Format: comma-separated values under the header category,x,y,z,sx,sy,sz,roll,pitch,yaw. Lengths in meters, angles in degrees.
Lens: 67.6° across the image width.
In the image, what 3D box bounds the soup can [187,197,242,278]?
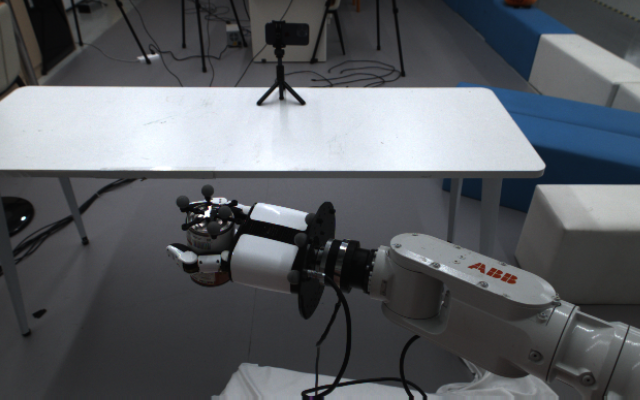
category,x,y,z,sx,sy,sz,roll,pitch,yaw
soup can,-0.152,0.066,0.683,0.067,0.101,0.067,5,37,-4
